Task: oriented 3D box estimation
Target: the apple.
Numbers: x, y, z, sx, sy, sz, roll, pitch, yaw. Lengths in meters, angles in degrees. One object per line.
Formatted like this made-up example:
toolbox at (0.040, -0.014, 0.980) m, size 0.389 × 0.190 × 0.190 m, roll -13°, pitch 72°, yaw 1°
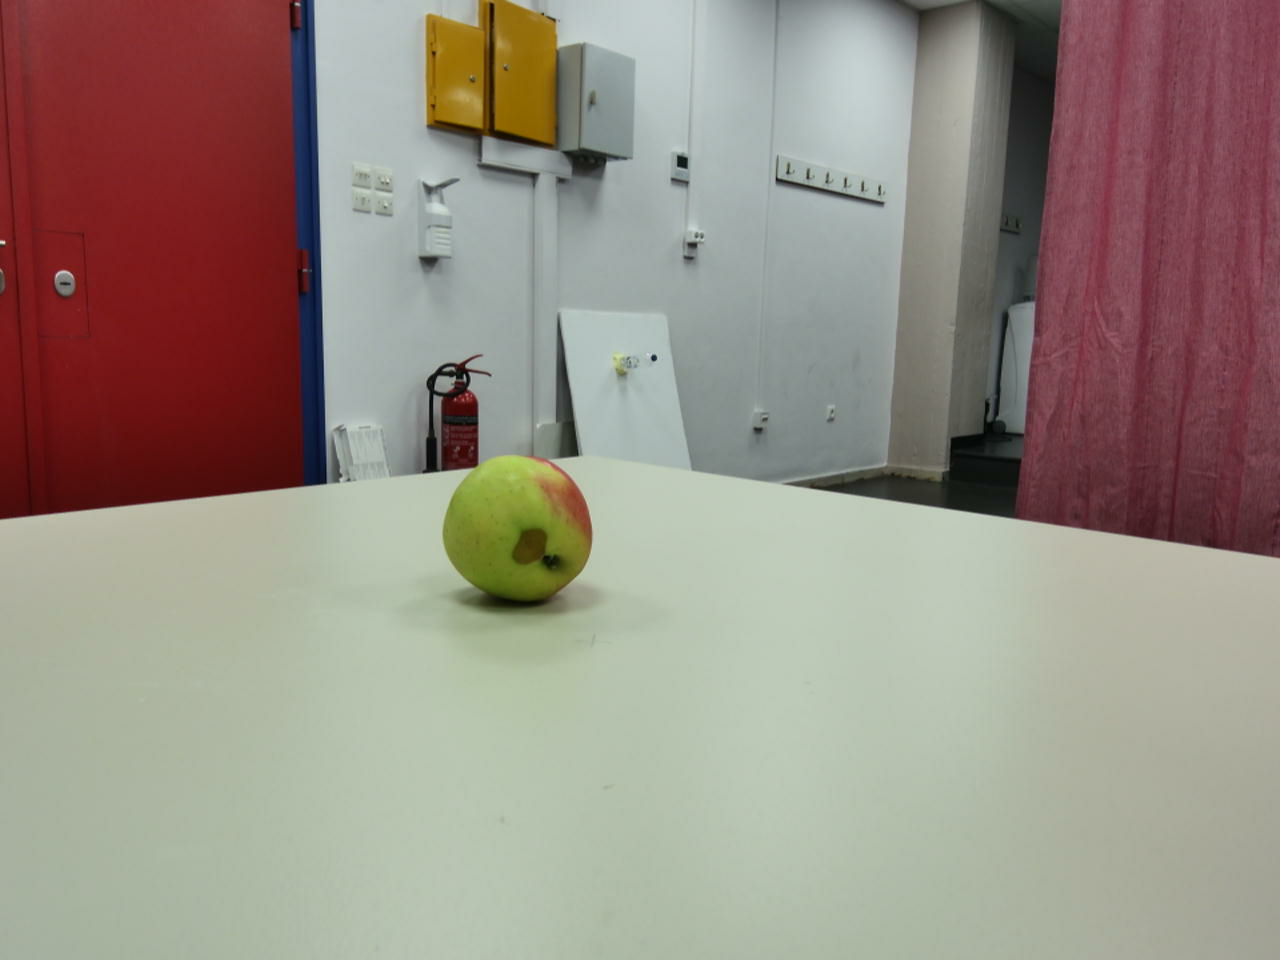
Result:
apple at (-0.062, 0.024, 0.519) m, size 0.075 × 0.074 × 0.075 m, roll 3°, pitch 7°, yaw 22°
